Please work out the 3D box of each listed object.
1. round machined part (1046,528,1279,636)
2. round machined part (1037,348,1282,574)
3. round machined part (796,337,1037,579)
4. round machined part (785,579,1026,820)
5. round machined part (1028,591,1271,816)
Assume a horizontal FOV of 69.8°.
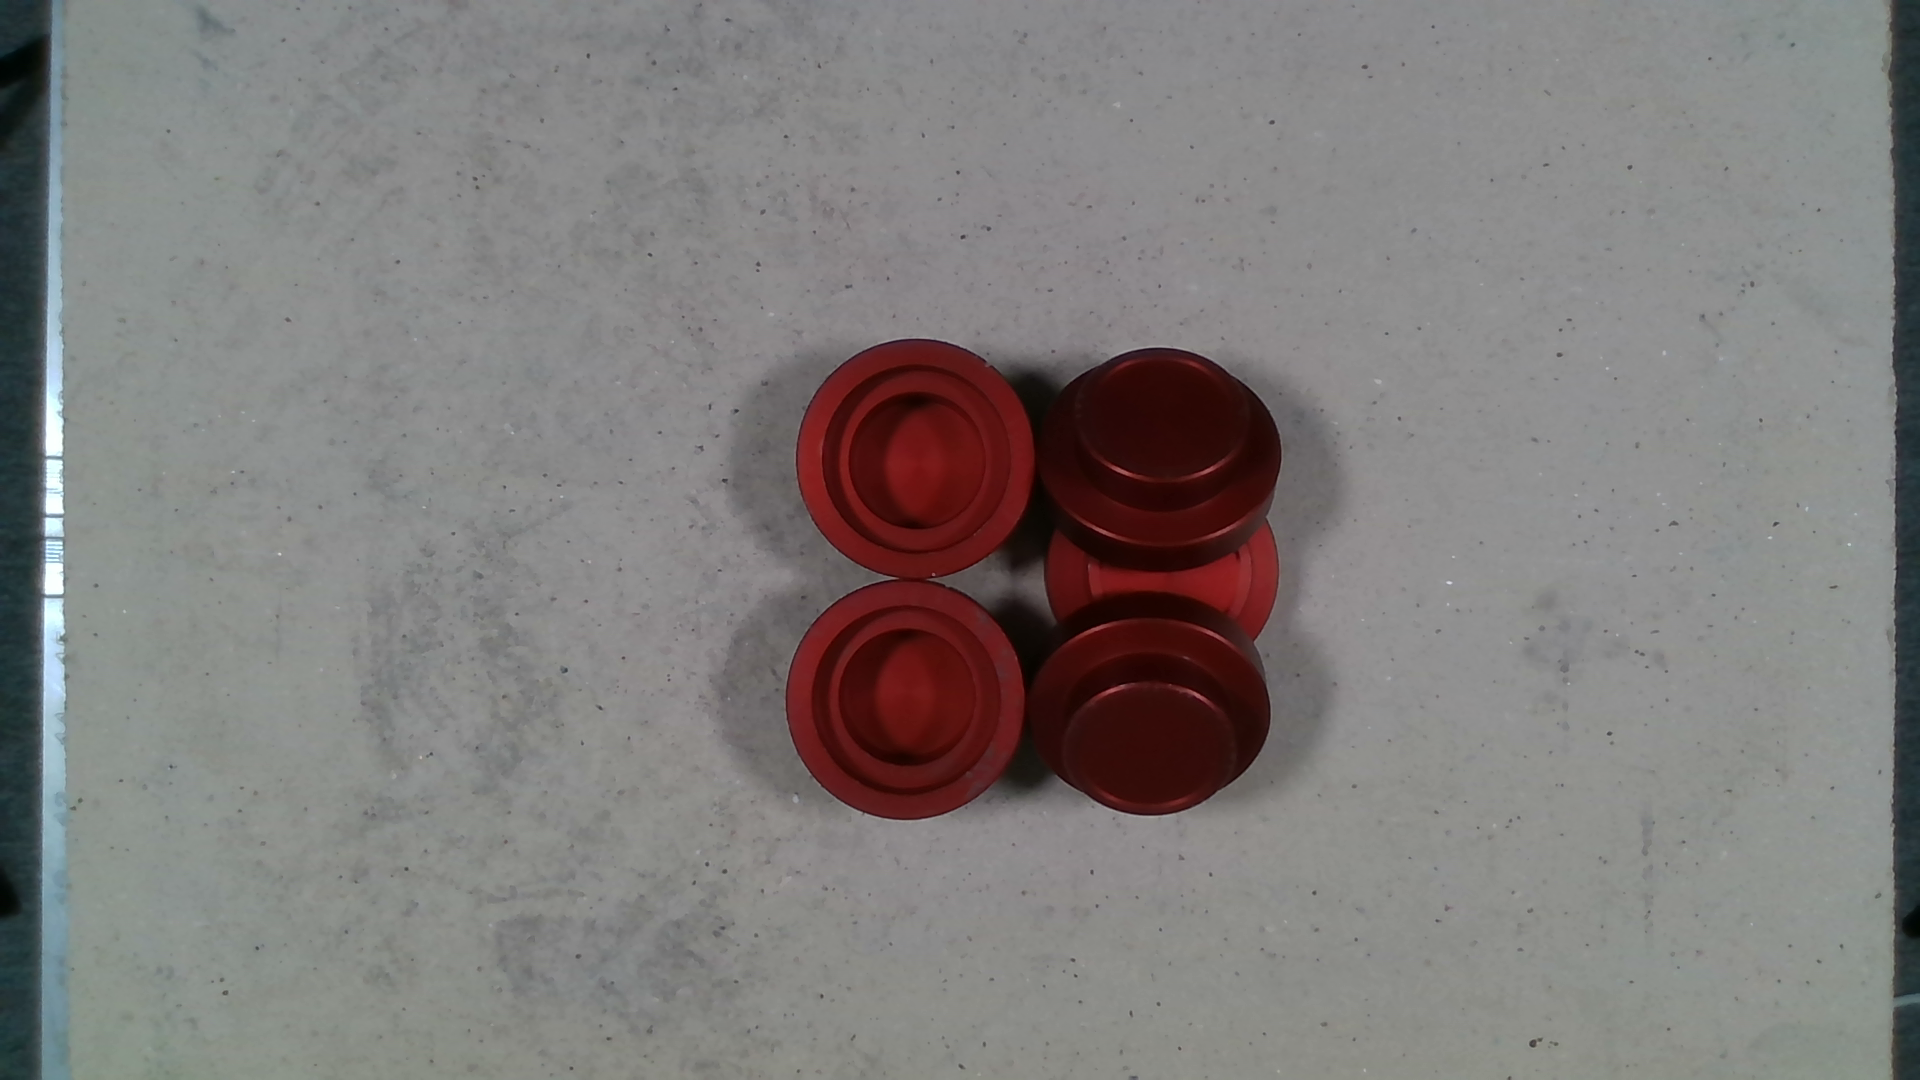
[{"bbox_3d":[0.085,0.012,0.578,0.098,0.042,0.098,0,90,0],"label":"round machined part"},{"bbox_3d":[0.080,-0.039,0.555,0.098,0.042,0.098,-2,57,3],"label":"round machined part"},{"bbox_3d":[-0.018,-0.033,0.578,0.098,0.042,0.098,0,90,0],"label":"round machined part"},{"bbox_3d":[-0.022,0.065,0.579,0.098,0.042,0.098,0,90,0],"label":"round machined part"},{"bbox_3d":[0.076,0.073,0.558,0.098,0.042,0.098,3,122,4],"label":"round machined part"}]
